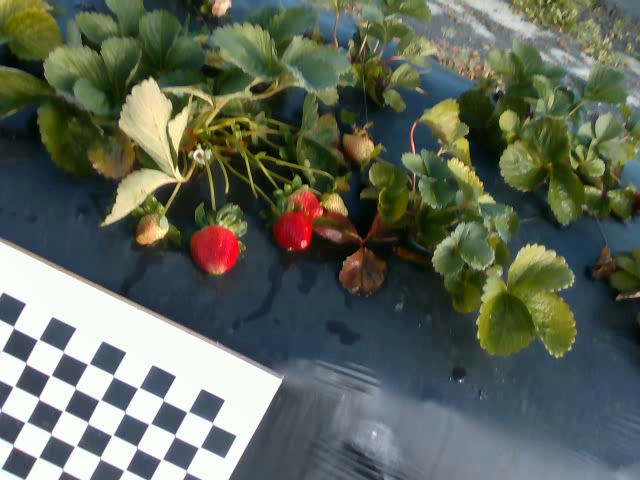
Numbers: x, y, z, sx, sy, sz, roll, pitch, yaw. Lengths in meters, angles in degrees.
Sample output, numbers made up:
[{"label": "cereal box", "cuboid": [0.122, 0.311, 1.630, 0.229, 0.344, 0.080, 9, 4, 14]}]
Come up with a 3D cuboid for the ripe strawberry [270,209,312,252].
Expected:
[{"label": "ripe strawberry", "cuboid": [-0.028, -0.004, 0.609, 0.044, 0.042, 0.055, -37, 36, -1]}]

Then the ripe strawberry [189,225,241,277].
[{"label": "ripe strawberry", "cuboid": [-0.101, 0.013, 0.569, 0.050, 0.050, 0.065, -14, 31, 1]}]
